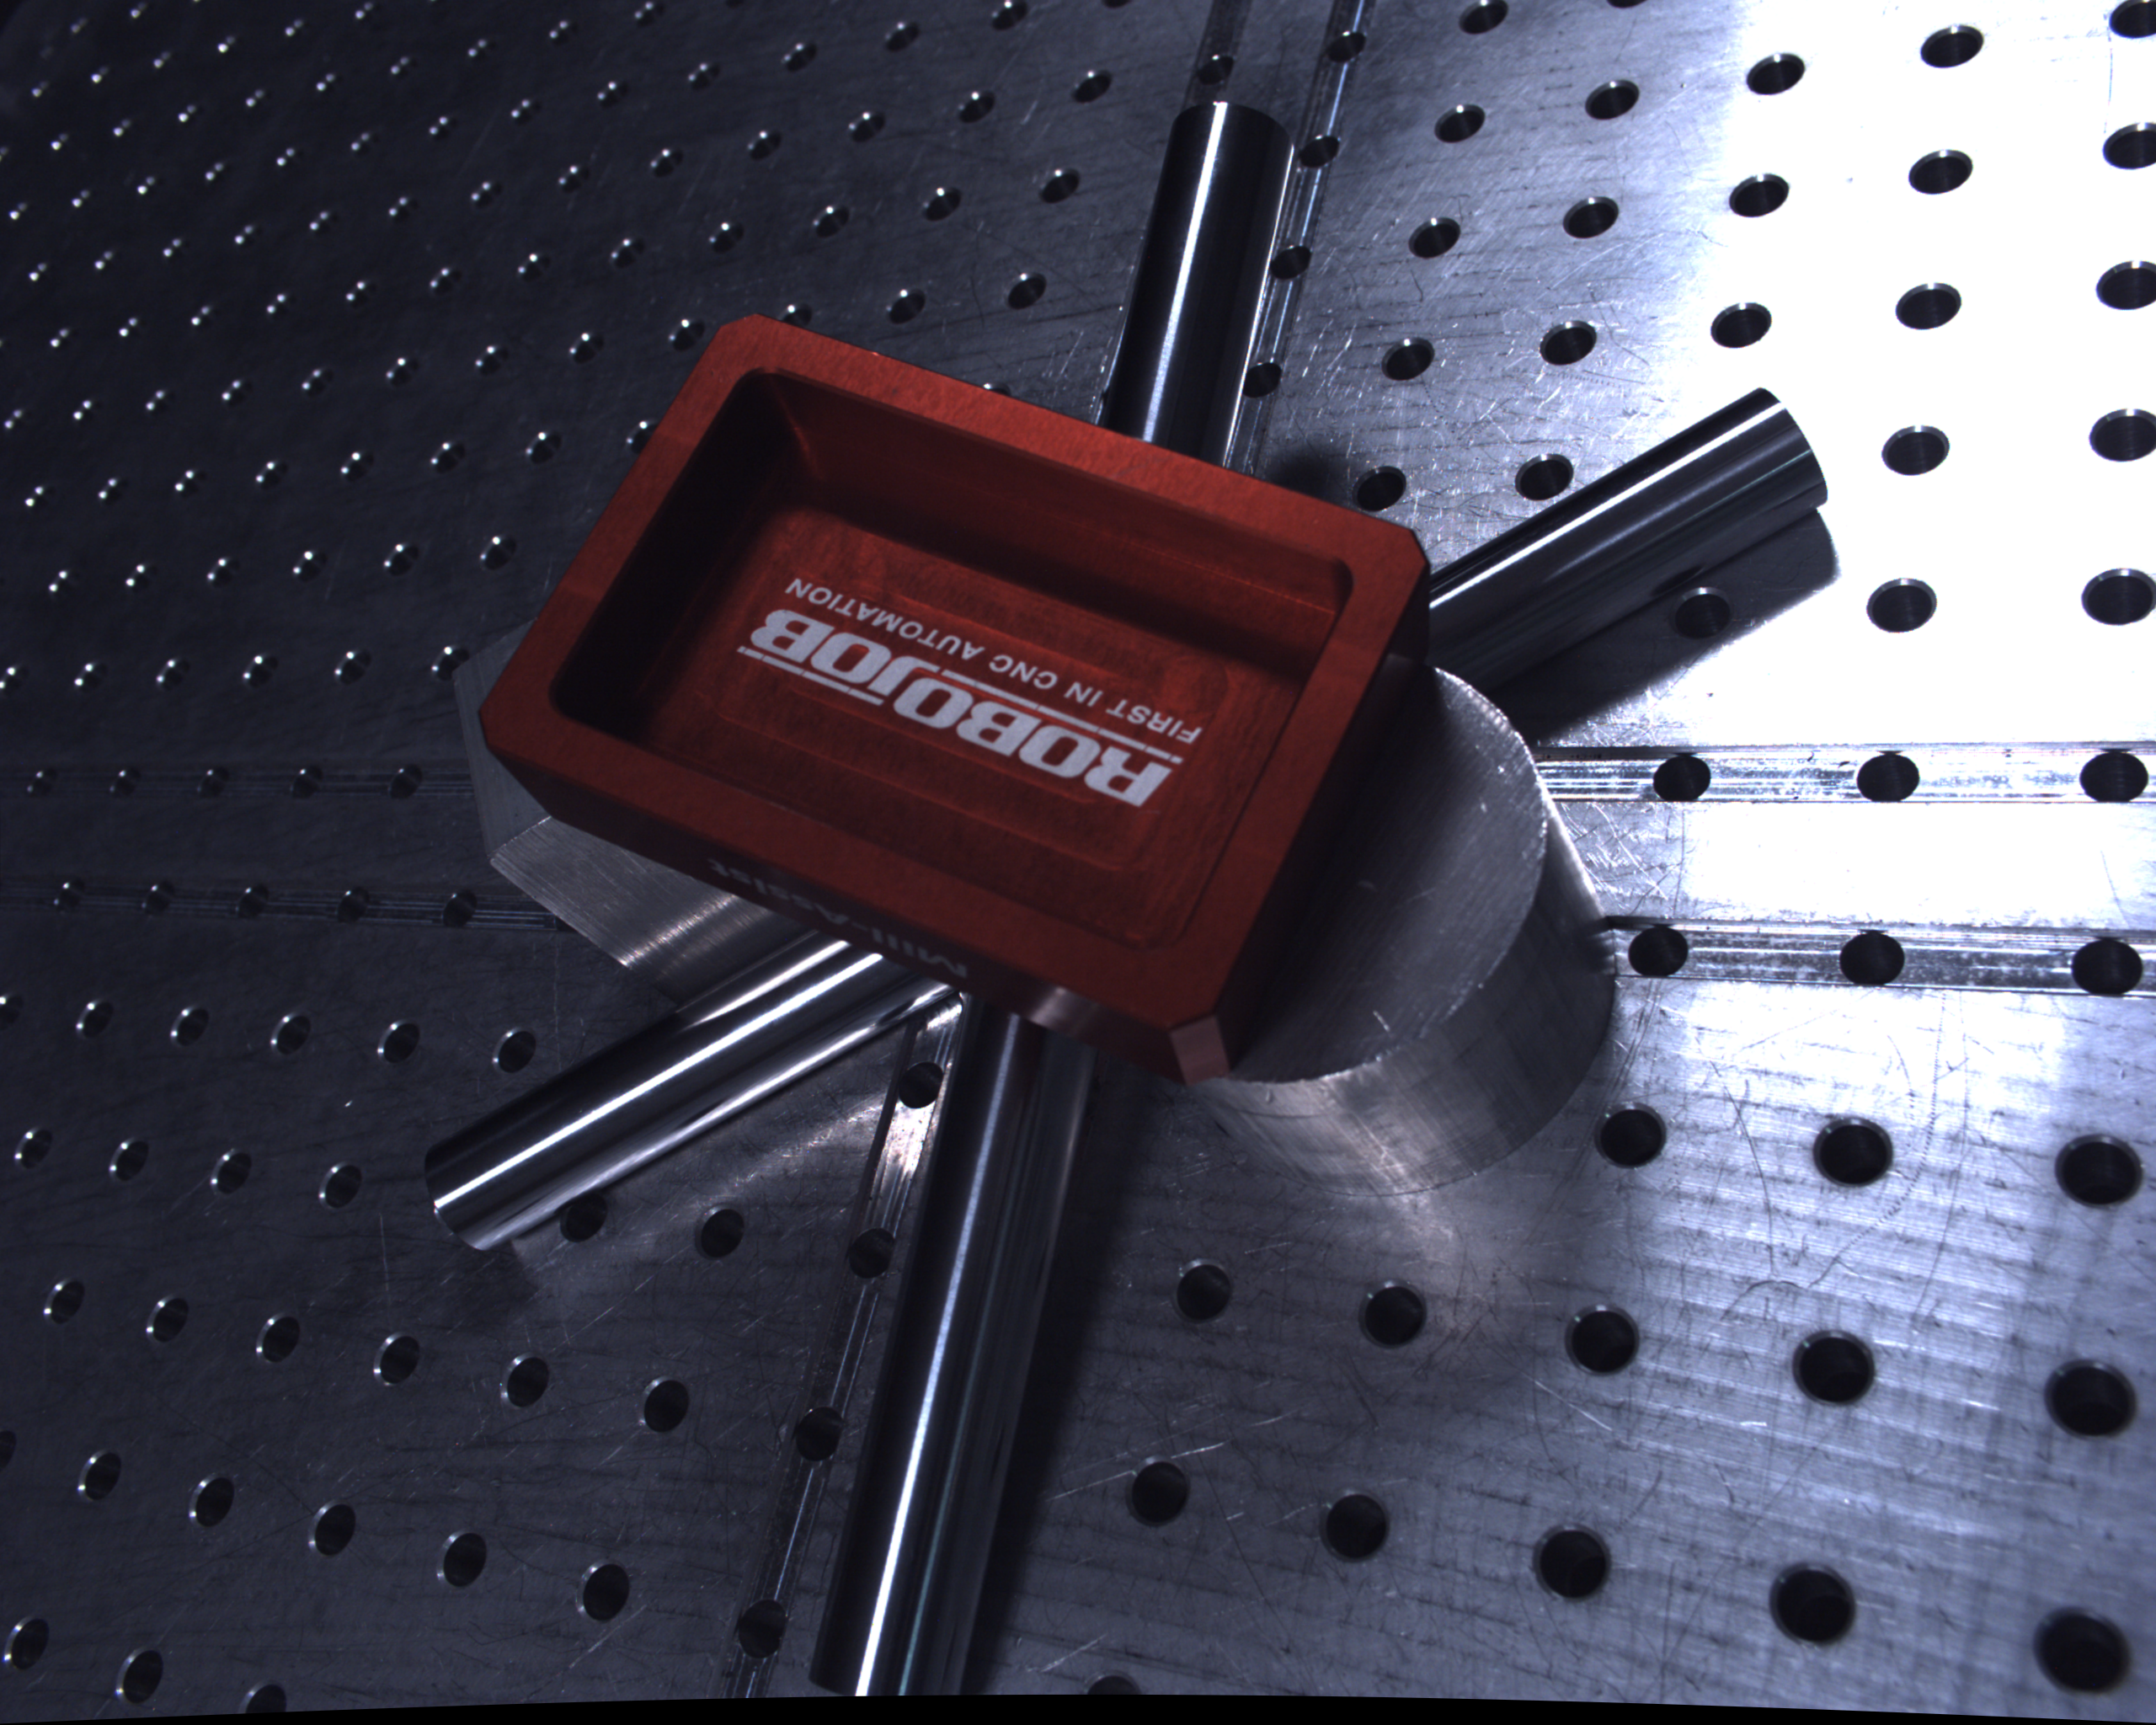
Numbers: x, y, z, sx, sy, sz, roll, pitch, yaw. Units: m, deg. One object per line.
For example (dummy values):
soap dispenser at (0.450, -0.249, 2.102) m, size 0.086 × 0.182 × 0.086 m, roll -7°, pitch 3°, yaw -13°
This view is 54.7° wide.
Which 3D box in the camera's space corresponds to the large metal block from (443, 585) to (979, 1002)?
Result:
large metal block at (-0.065, -0.020, 0.417) m, size 0.080 × 0.080 × 0.050 m, roll -30°, pitch 52°, yaw 9°

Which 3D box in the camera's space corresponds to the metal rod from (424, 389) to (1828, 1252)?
metal rod at (0.003, -0.004, 0.408) m, size 0.301 × 0.025 × 0.025 m, roll -29°, pitch 52°, yaw 9°

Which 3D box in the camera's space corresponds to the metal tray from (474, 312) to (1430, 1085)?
metal tray at (-0.019, -0.030, 0.342) m, size 0.130 × 0.030 × 0.090 m, roll 22°, pitch 72°, yaw 16°

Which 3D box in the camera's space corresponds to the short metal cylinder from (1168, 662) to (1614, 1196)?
short metal cylinder at (0.047, 0.011, 0.359) m, size 0.080 × 0.050 × 0.080 m, roll -13°, pitch 56°, yaw 20°

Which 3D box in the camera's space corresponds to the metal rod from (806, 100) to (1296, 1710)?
metal rod at (0.000, -0.005, 0.381) m, size 0.025 × 0.025 × 0.299 m, roll 4°, pitch 73°, yaw 29°
